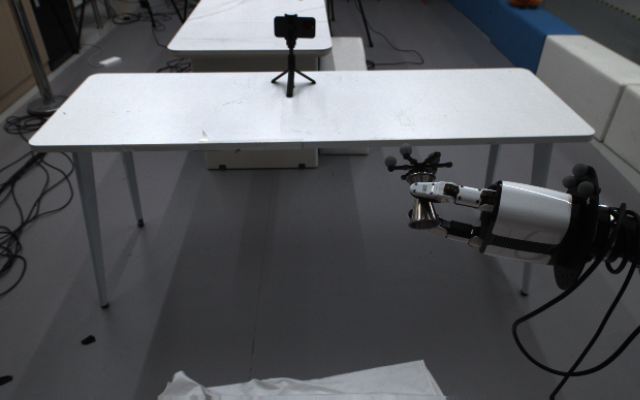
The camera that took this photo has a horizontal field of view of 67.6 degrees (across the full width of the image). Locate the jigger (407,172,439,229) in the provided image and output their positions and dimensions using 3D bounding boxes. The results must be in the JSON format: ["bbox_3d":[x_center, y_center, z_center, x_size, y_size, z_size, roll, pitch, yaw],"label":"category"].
[{"bbox_3d":[0.139,-0.002,0.654,0.043,0.043,0.071,1,70,-2],"label":"jigger"}]
